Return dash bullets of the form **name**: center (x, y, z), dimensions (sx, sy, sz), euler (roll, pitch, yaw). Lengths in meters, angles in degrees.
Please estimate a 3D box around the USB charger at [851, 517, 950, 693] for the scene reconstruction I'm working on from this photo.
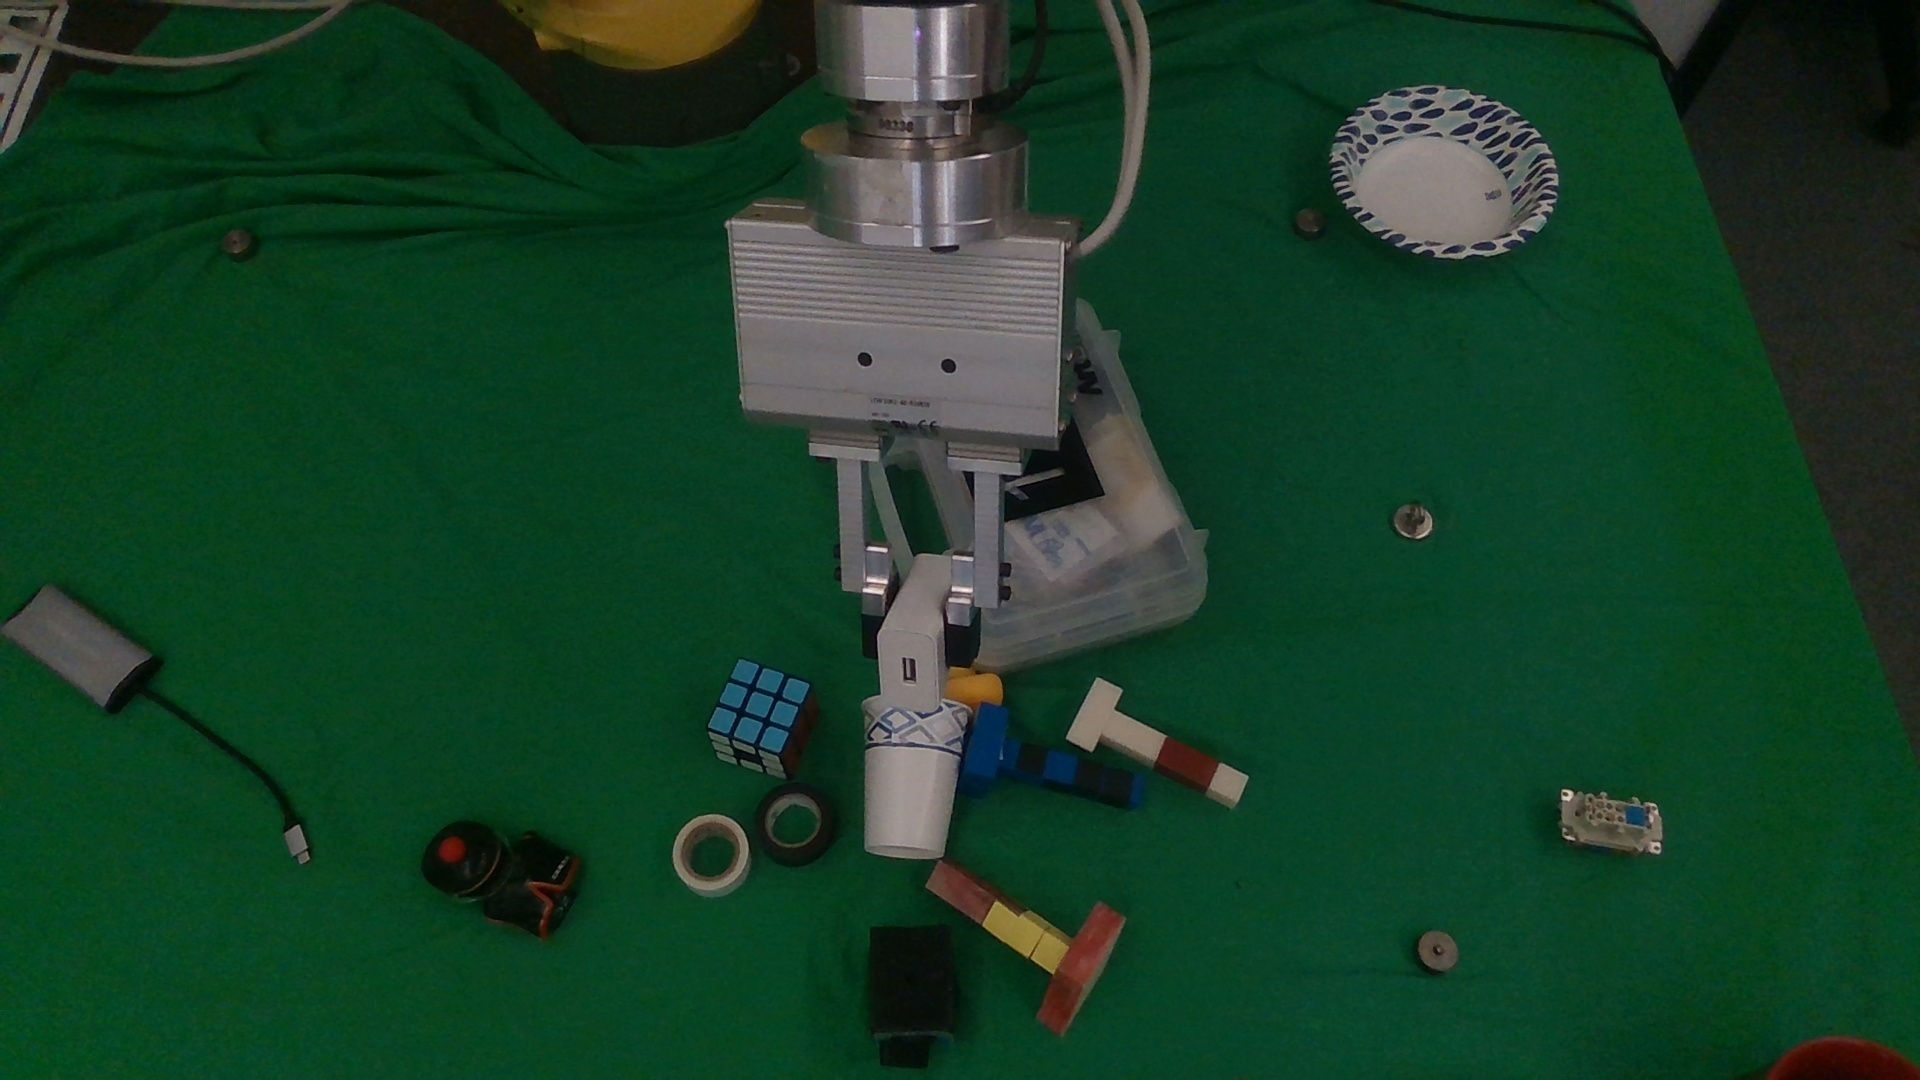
- **USB charger**: center (-0.020, 0.020, 0.529), dimensions (0.029, 0.044, 0.075), euler (11, 40, 4)

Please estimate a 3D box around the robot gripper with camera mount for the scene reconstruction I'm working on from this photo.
- **robot gripper with camera mount**: center (-0.001, -0.064, 0.548), dimensions (0.119, 0.158, 0.193), euler (10, 30, 14)
